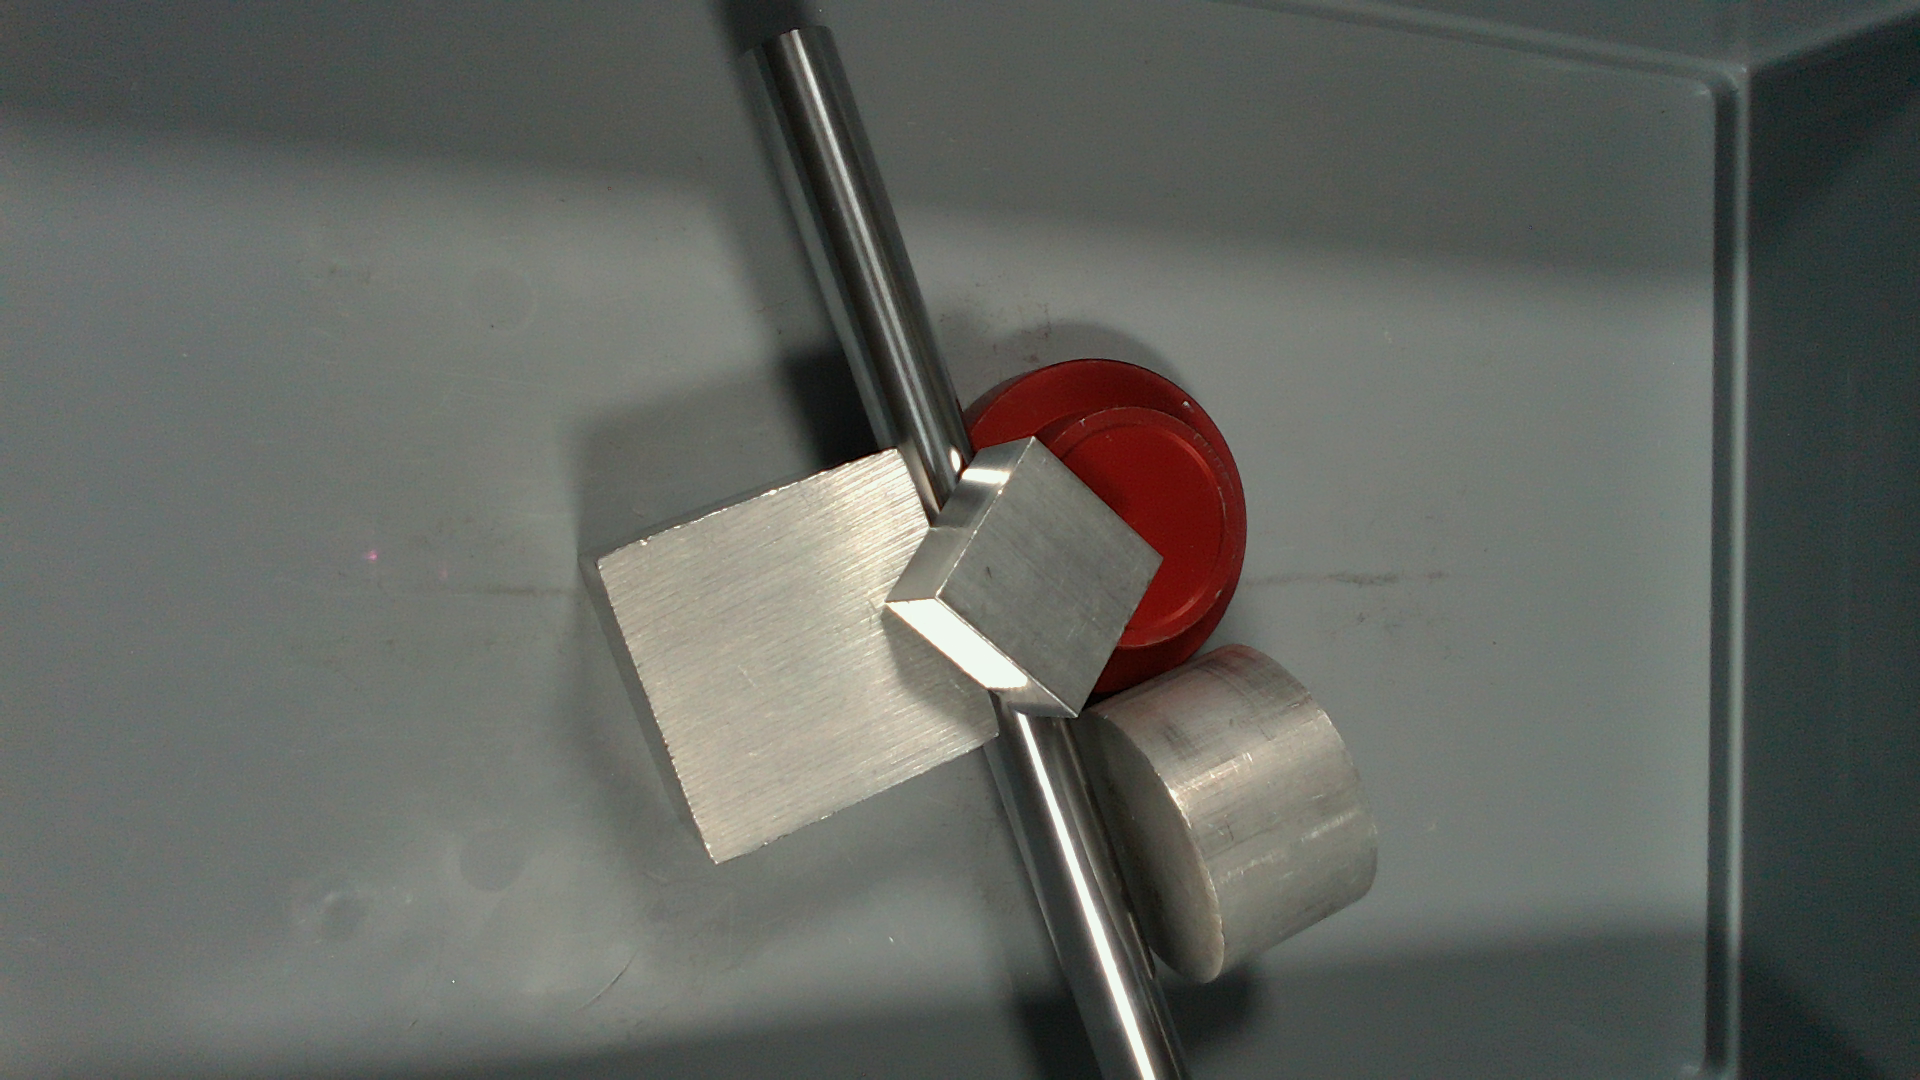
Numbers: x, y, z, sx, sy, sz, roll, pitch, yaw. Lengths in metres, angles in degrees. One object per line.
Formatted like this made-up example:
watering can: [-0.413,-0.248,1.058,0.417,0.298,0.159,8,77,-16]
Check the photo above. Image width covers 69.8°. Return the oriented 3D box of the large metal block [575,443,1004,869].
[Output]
large metal block: [-0.046,0.027,0.360,0.080,0.050,0.080,-22,97,-19]

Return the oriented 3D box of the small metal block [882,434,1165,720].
small metal block: [0.017,0.010,0.347,0.050,0.025,0.050,41,66,-22]

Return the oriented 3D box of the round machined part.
round machined part: [0.041,-0.004,0.398,0.098,0.042,0.098,0,90,-20]

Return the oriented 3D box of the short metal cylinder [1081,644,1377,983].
short metal cylinder: [0.071,0.076,0.389,0.050,0.080,0.080,-22,97,-18]

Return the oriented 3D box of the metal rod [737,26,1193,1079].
metal rod: [0.004,0.014,0.372,0.025,0.025,0.300,-22,97,-18]
